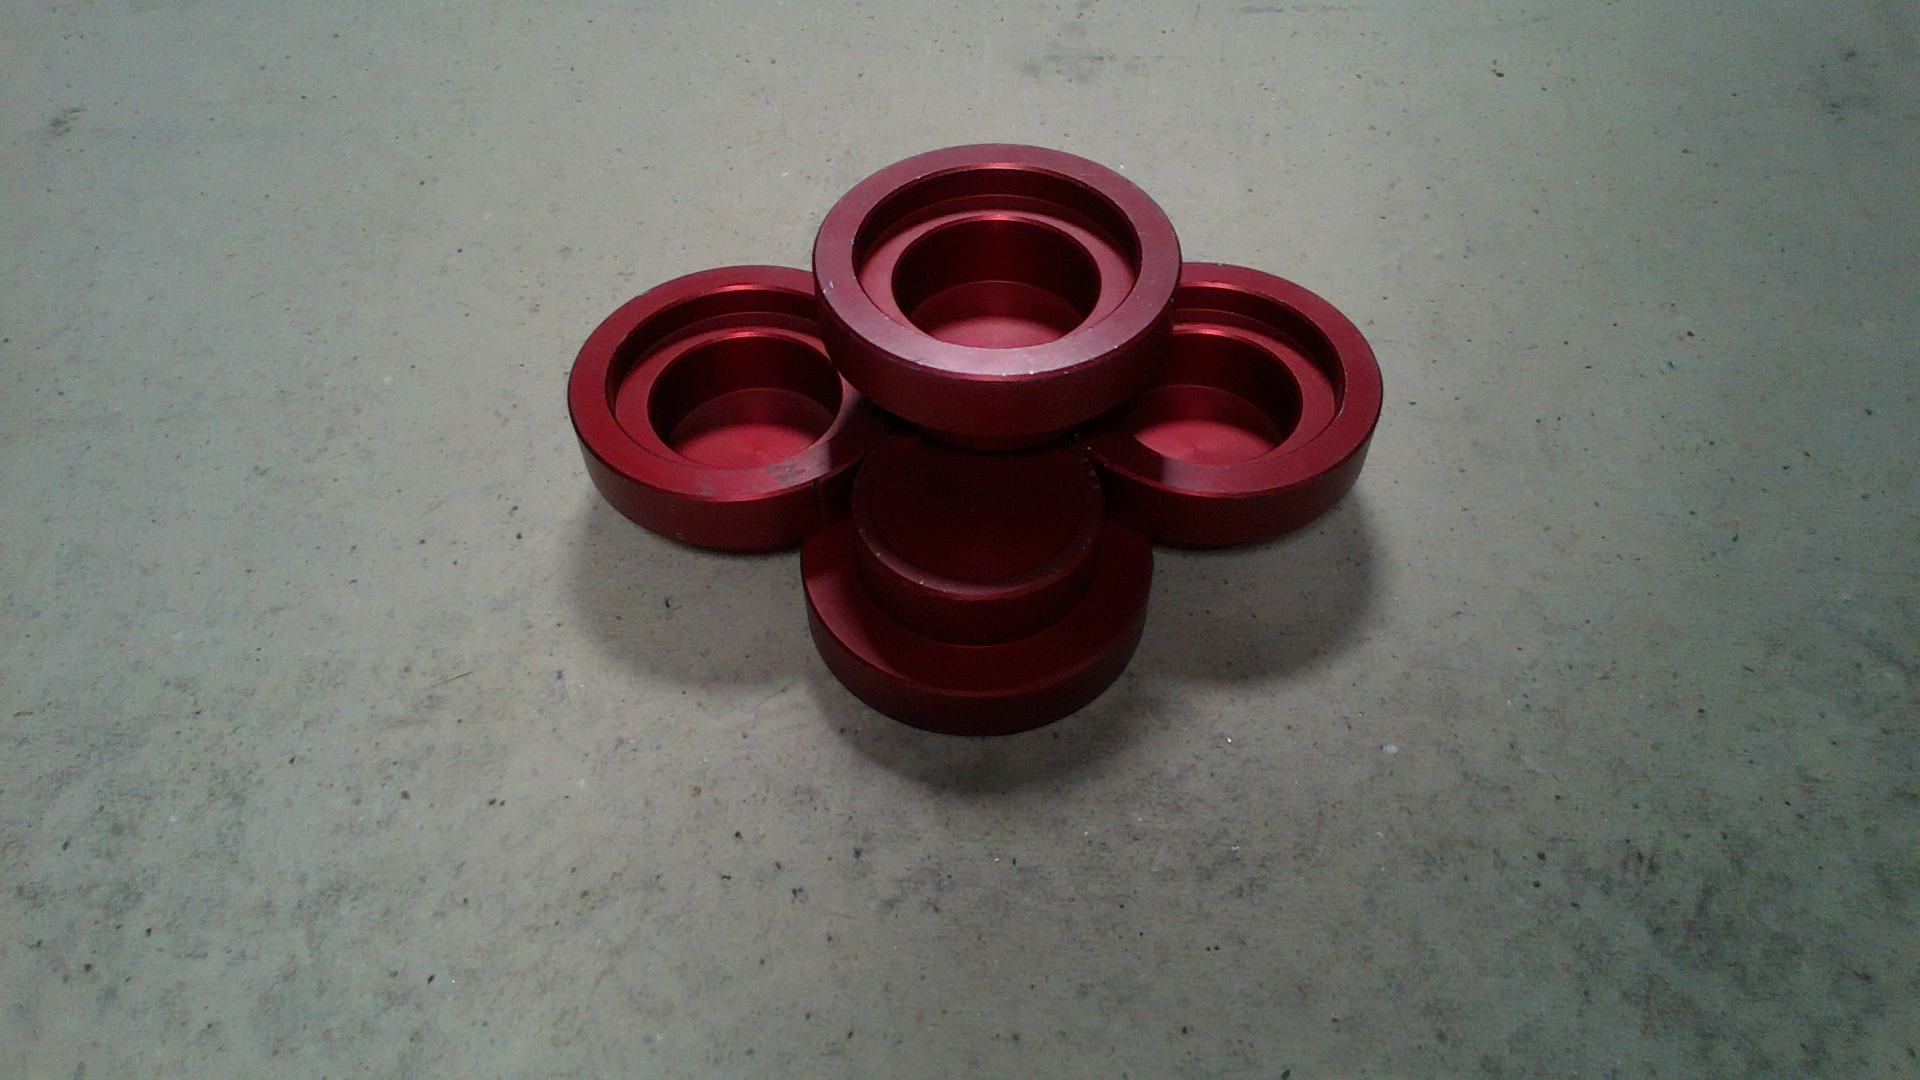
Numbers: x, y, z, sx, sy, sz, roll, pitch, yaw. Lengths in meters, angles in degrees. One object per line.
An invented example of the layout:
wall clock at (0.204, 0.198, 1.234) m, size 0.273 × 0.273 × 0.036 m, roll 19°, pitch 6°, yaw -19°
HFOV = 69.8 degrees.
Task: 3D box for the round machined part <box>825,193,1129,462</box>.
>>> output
round machined part at (0.006, -0.074, 0.443) m, size 0.098 × 0.042 × 0.098 m, roll 0°, pitch 50°, yaw 0°

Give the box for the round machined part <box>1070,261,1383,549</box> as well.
round machined part at (0.072, -0.036, 0.411) m, size 0.098 × 0.042 × 0.098 m, roll 0°, pitch 50°, yaw 0°

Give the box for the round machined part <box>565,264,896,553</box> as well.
round machined part at (-0.064, -0.035, 0.410) m, size 0.098 × 0.042 × 0.098 m, roll 0°, pitch 50°, yaw 0°

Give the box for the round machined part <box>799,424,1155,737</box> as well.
round machined part at (0.005, 0.002, 0.379) m, size 0.098 × 0.042 × 0.098 m, roll 0°, pitch 50°, yaw 0°

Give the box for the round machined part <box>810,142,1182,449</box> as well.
round machined part at (0.010, -0.064, 0.379) m, size 0.098 × 0.042 × 0.098 m, roll 0°, pitch 50°, yaw 0°
